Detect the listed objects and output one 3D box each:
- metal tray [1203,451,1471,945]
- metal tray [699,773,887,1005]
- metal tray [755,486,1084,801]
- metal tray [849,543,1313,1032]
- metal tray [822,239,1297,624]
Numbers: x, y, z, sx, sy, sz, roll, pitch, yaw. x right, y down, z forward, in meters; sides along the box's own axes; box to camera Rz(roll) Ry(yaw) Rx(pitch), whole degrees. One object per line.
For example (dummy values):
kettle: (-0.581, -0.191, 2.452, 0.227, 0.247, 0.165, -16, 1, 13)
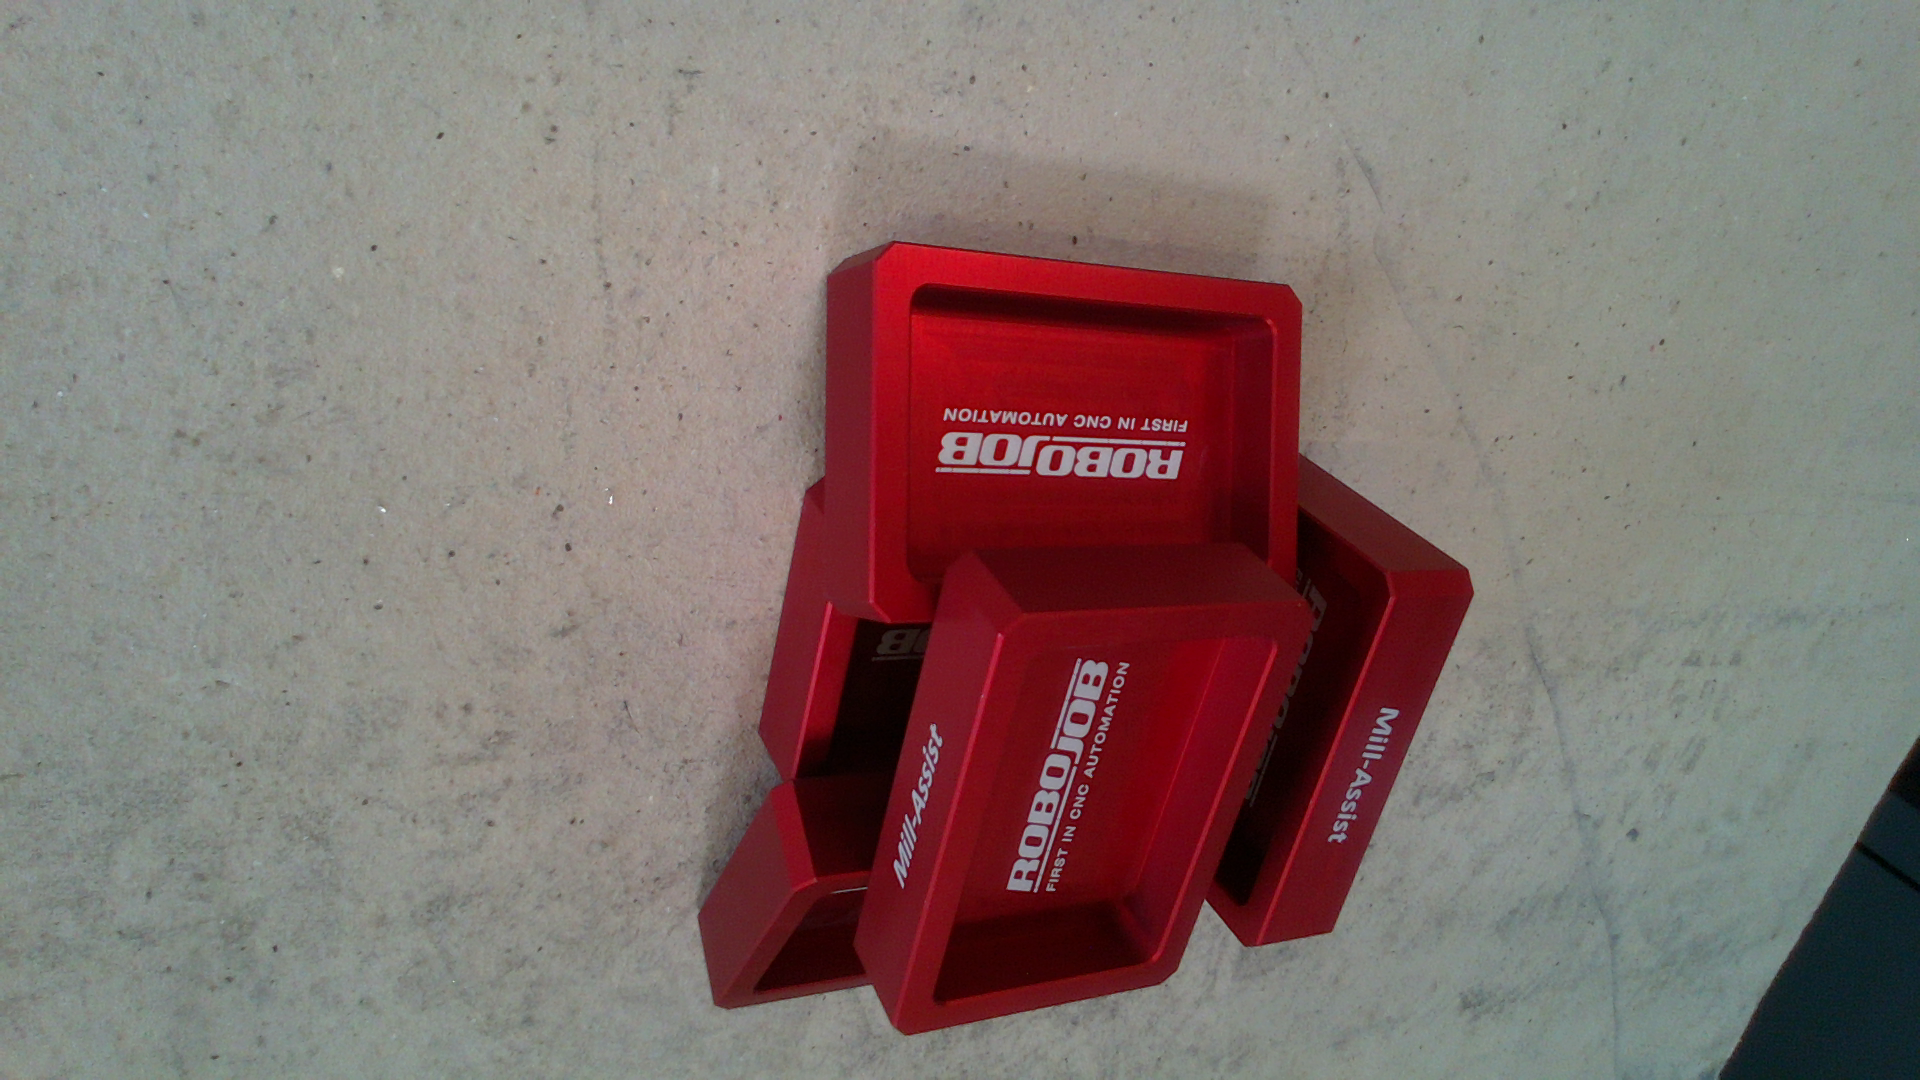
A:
metal tray: (0.095, 0.047, 0.427, 0.030, 0.090, 0.130, -1, 119, -28)
metal tray: (-0.006, 0.104, 0.425, 0.130, 0.030, 0.090, 0, 143, -28)
metal tray: (0.012, 0.029, 0.408, 0.130, 0.030, 0.090, -1, 120, -28)
metal tray: (0.029, 0.064, 0.358, 0.090, 0.030, 0.130, -1, 121, -28)
metal tray: (0.029, -0.026, 0.364, 0.130, 0.030, 0.090, -1, 92, -29)
